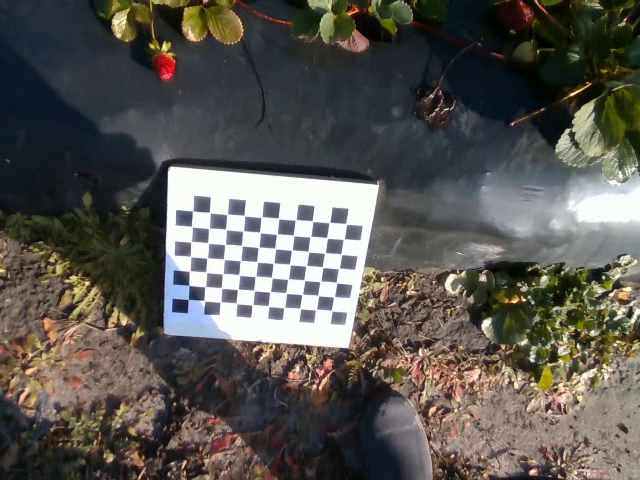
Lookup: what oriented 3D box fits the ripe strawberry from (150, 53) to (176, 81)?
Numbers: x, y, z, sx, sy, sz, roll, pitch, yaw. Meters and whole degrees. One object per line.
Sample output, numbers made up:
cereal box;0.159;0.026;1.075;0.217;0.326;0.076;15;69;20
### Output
ripe strawberry;-0.166;-0.183;0.763;0.028;0.041;0.031;-17;-30;7
